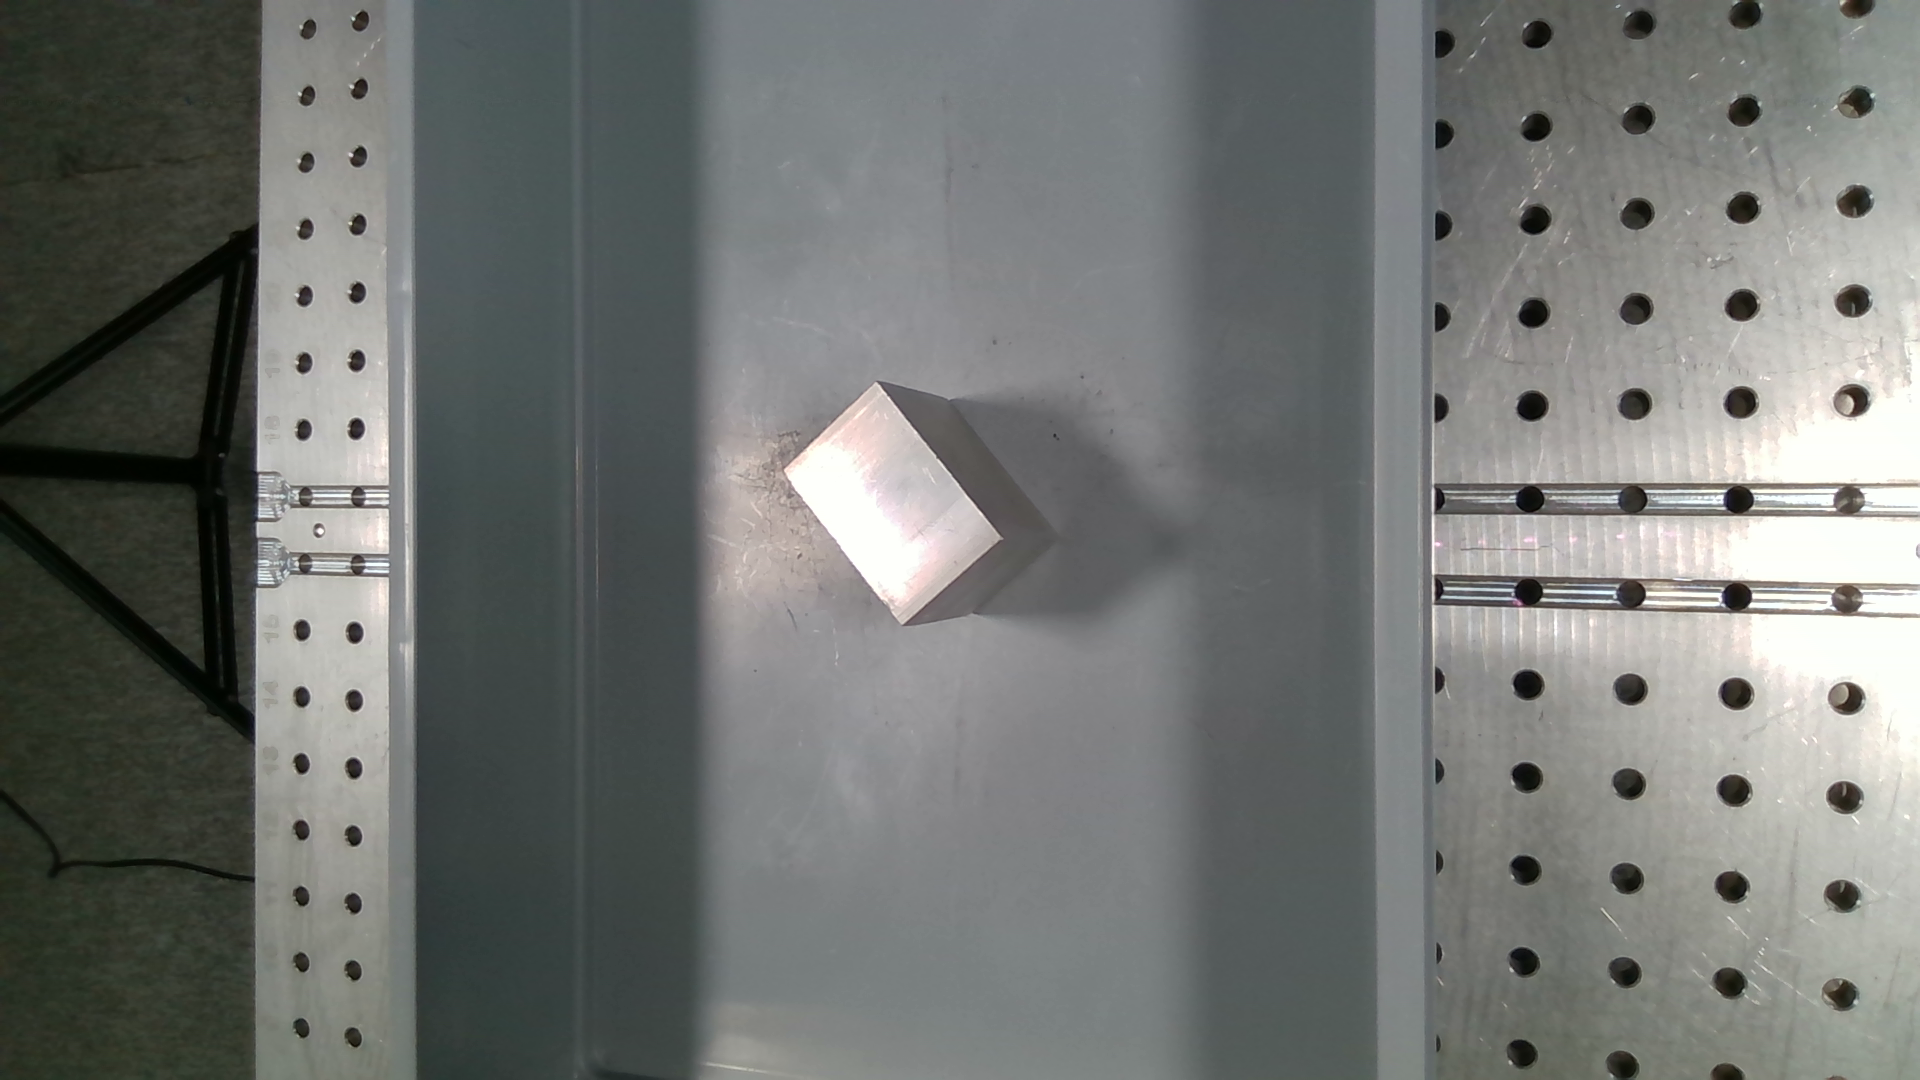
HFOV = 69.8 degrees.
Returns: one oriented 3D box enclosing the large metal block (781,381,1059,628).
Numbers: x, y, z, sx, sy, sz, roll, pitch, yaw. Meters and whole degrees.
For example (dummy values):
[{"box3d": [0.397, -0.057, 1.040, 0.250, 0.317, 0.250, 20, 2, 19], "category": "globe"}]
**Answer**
[{"box3d": [-0.014, -0.014, 0.558, 0.050, 0.080, 0.080, -42, 77, 16], "category": "large metal block"}]
